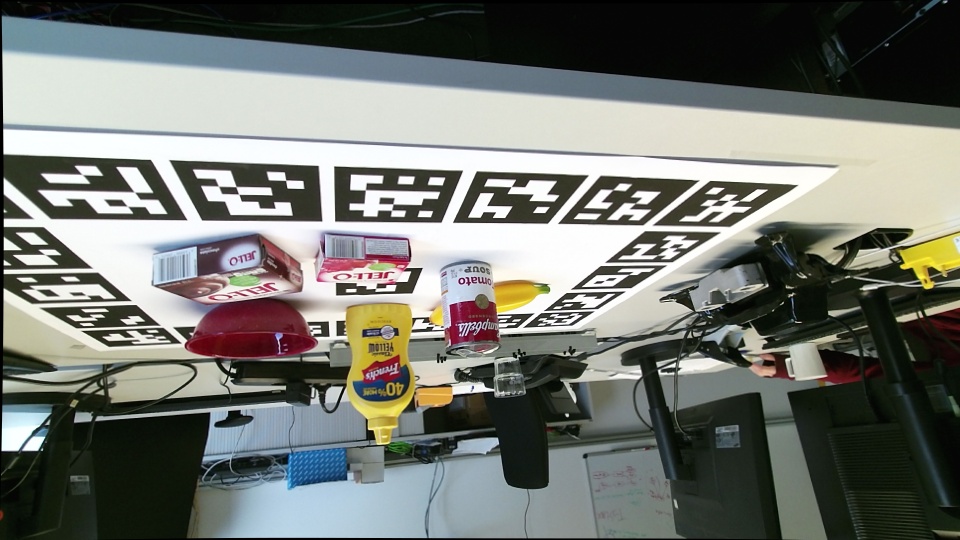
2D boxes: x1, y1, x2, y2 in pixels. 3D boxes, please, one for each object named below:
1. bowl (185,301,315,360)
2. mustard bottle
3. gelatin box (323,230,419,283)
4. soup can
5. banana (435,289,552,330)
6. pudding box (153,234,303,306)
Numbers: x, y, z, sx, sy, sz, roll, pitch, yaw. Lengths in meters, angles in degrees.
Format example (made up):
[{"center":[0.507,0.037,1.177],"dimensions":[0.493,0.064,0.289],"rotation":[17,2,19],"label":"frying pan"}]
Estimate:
[{"center":[-0.308,0.079,0.724],"dimensions":[0.162,0.055,0.162],"rotation":[-7,161,-2],"label":"bowl"},{"center":[-0.138,0.158,0.757],"dimensions":[0.096,0.190,0.058],"rotation":[-1,162,-15],"label":"mustard bottle"},{"center":[-0.118,-0.012,0.570],"dimensions":[0.090,0.030,0.073],"rotation":[1,155,-22],"label":"gelatin box"},{"center":[-0.004,0.057,0.663],"dimensions":[0.068,0.101,0.068],"rotation":[-4,161,-1],"label":"soup can"},{"center":[0.004,0.059,0.790],"dimensions":[0.198,0.038,0.074],"rotation":[-18,167,29],"label":"banana"},{"center":[-0.256,0.005,0.558],"dimensions":[0.114,0.038,0.090],"rotation":[-10,154,7],"label":"pudding box"}]
